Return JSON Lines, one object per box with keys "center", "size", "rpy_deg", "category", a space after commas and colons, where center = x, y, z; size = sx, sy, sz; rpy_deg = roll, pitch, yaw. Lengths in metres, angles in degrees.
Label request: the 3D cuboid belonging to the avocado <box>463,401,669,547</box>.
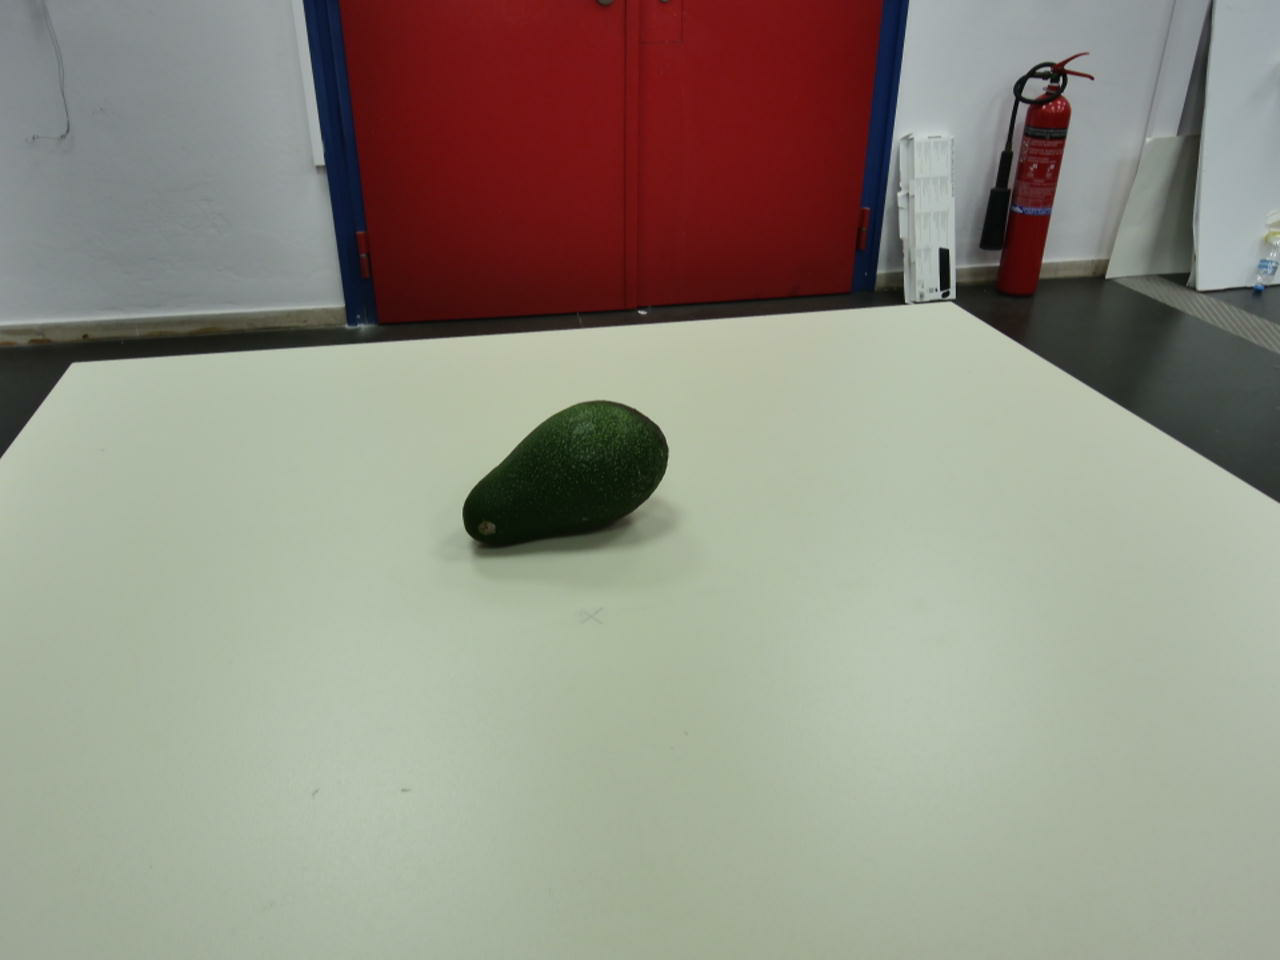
{"center": [-0.044, -0.009, 0.588], "size": [0.123, 0.076, 0.074], "rpy_deg": [-3, 27, -6], "category": "avocado"}
